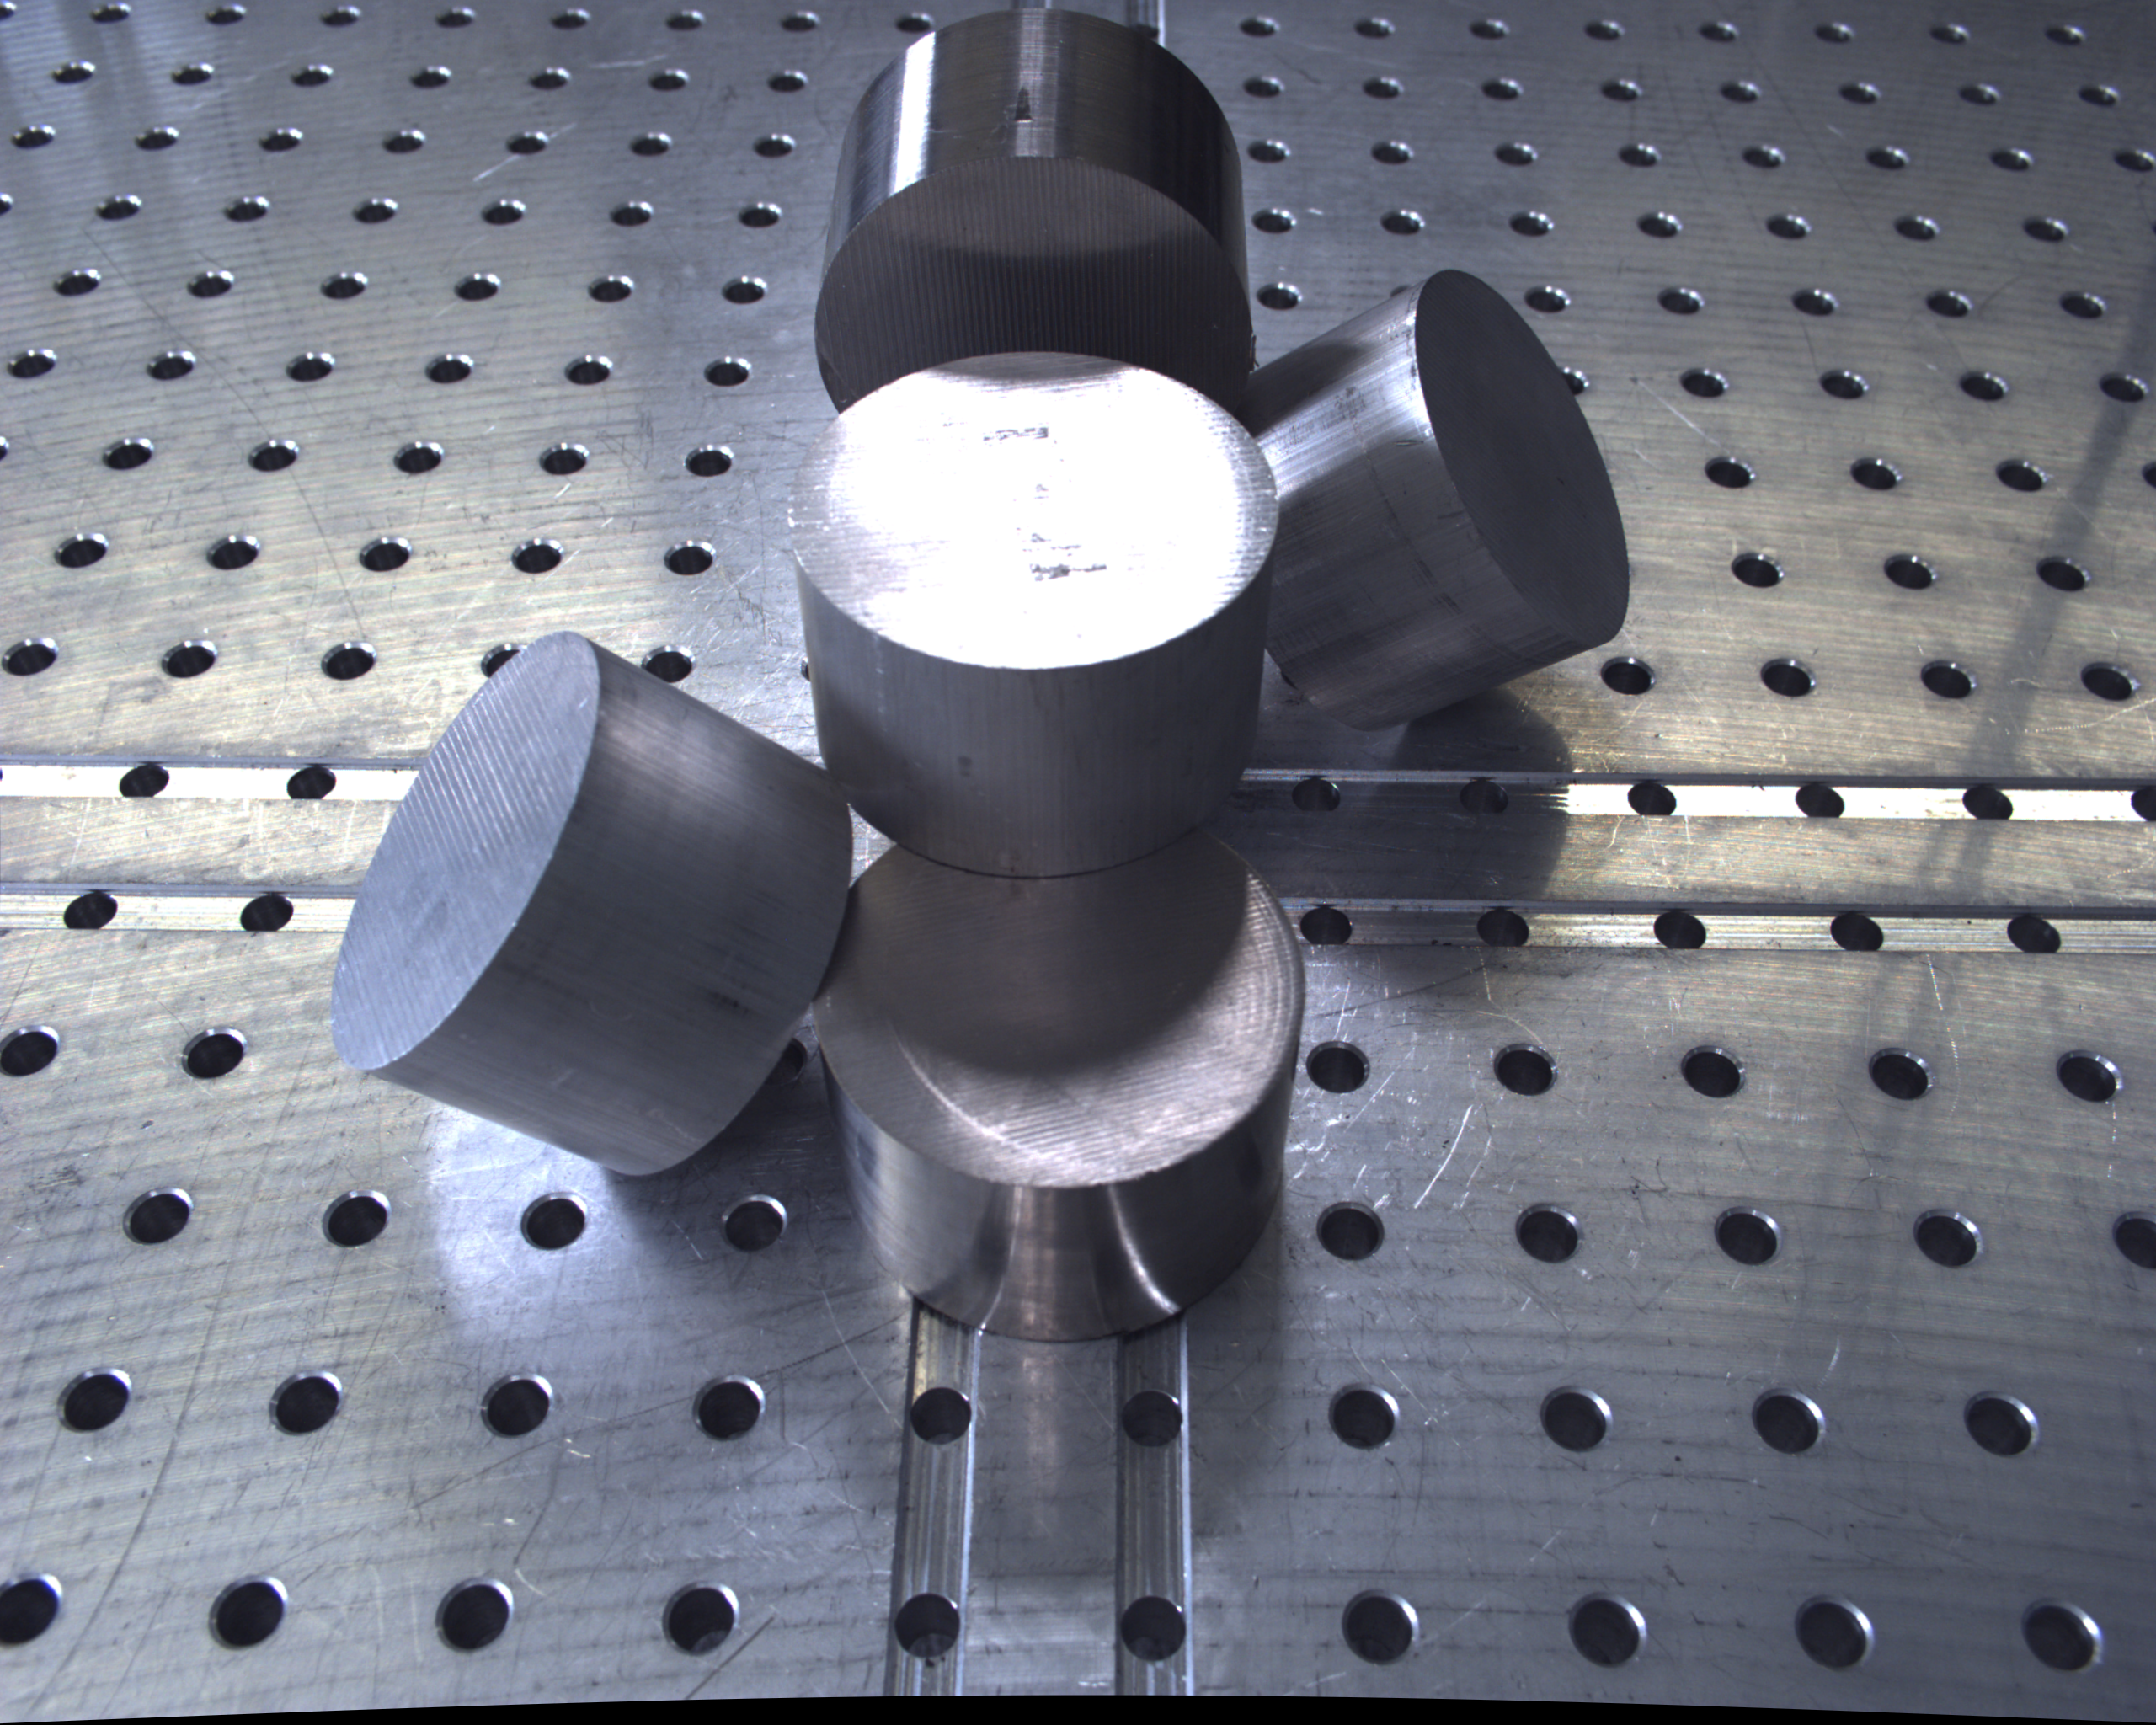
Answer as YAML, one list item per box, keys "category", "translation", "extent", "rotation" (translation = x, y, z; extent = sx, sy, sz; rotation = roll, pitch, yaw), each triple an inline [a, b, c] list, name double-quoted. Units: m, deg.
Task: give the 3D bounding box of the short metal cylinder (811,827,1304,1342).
- category: "short metal cylinder"
  translation: [-0.003, 0.035, 0.361]
  extent: [0.081, 0.050, 0.080]
  rotation: [0, 51, 0]

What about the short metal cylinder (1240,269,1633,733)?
- category: "short metal cylinder"
  translation: [0.070, -0.072, 0.424]
  extent: [0.050, 0.080, 0.080]
  rotation: [-22, 39, 36]

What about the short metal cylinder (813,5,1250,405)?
- category: "short metal cylinder"
  translation: [-0.008, -0.114, 0.401]
  extent: [0.081, 0.080, 0.050]
  rotation: [0, 50, 0]

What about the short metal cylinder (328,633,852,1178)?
- category: "short metal cylinder"
  translation: [-0.084, 0.008, 0.357]
  extent: [0.050, 0.080, 0.080]
  rotation: [31, 40, -33]

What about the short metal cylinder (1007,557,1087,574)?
- category: "short metal cylinder"
  translation: [-0.006, -0.069, 0.449]
  extent: [0.081, 0.050, 0.080]
  rotation: [0, 51, 0]

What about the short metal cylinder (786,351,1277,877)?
- category: "short metal cylinder"
  translation: [-0.008, -0.044, 0.362]
  extent: [0.081, 0.050, 0.080]
  rotation: [0, 50, 0]
